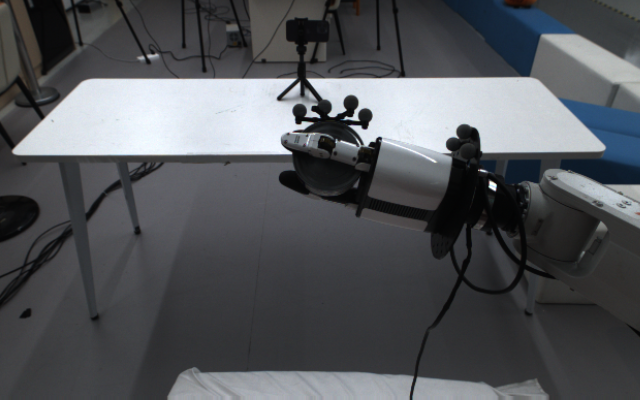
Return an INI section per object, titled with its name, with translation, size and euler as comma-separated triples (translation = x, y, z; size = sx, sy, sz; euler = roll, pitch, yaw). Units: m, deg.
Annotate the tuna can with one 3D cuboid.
[tuna can]
translation = 0.011, -0.050, 0.573
size = 0.085, 0.034, 0.085
euler = 0, 74, 0
